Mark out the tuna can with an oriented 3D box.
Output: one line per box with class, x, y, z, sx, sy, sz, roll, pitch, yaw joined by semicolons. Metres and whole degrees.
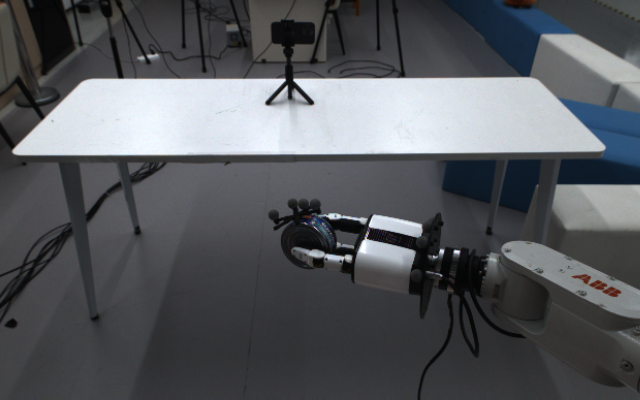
tuna can;-0.015;0.074;0.768;0.085;0.085;0.034;15;29;18
